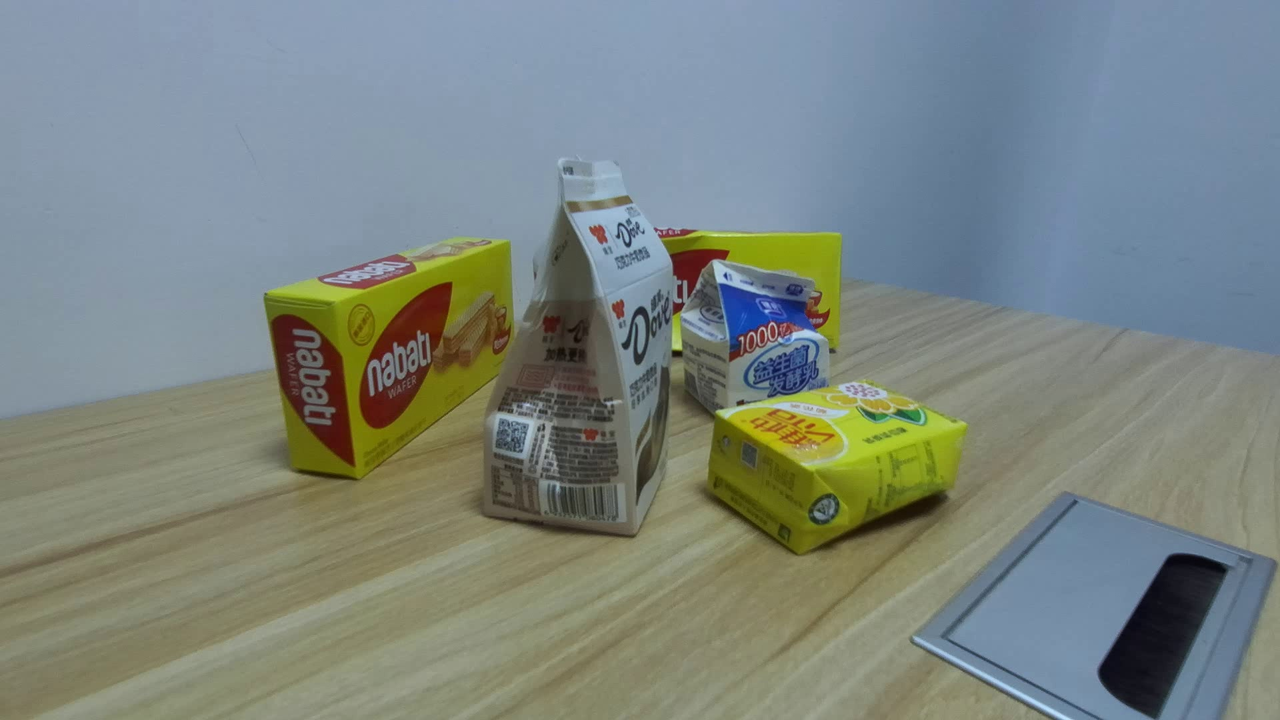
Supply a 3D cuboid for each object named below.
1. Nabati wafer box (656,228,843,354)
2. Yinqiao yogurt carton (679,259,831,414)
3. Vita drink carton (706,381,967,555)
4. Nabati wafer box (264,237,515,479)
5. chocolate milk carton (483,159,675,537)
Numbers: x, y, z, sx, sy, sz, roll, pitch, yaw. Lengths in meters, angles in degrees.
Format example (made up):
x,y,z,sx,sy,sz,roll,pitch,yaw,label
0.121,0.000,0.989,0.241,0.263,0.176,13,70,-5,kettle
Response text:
x,y,z,sx,sy,sz,roll,pitch,yaw,label
0.061,-0.055,0.568,0.203,0.096,0.042,0,11,-6,Nabati wafer box
0.071,-0.018,0.444,0.083,0.093,0.077,-5,20,-18,Yinqiao yogurt carton
0.097,0.047,0.337,0.109,0.043,0.076,-9,24,-32,Vita drink carton
-0.133,-0.014,0.429,0.042,0.093,0.203,5,18,12,Nabati wafer box
-0.026,-0.010,0.323,0.073,0.155,0.084,5,17,11,chocolate milk carton
